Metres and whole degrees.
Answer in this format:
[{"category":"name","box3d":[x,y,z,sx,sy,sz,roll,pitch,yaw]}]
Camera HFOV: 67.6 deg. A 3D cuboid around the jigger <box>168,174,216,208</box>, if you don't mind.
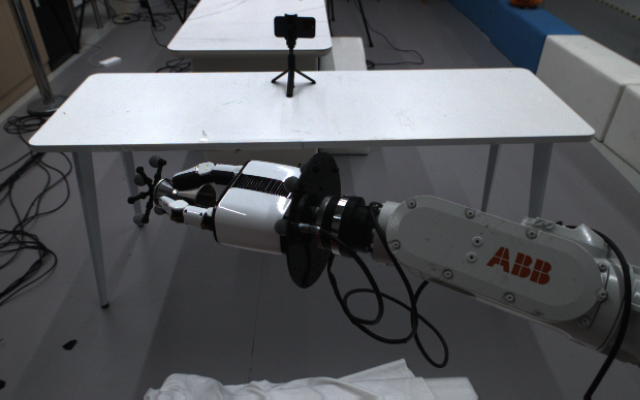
[{"category":"jigger","box3d":[-0.170,-0.006,0.628,0.071,0.043,0.043,10,35,22]}]
